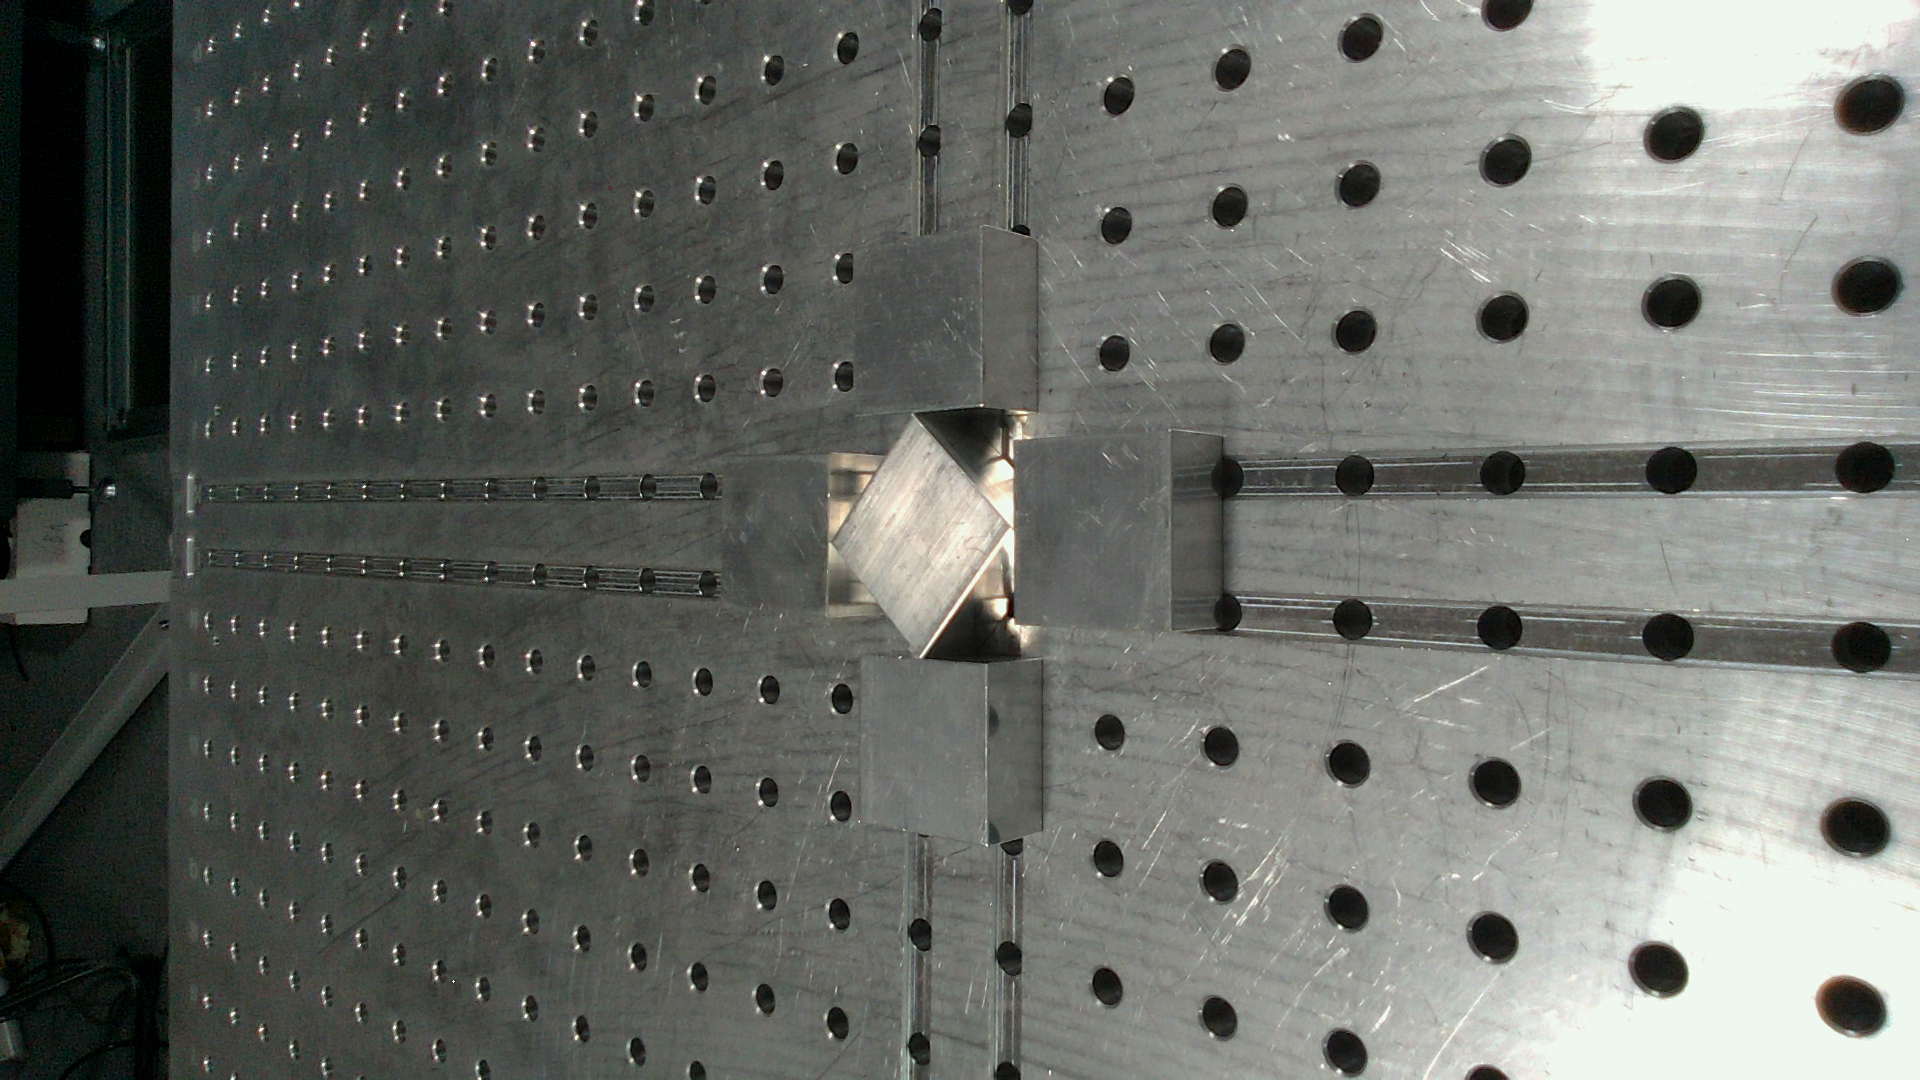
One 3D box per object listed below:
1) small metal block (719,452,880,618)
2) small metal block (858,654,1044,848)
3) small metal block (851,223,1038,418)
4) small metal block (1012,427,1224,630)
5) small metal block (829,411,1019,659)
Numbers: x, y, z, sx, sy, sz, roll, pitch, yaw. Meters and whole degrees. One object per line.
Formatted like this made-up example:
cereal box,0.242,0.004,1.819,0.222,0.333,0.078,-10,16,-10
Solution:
small metal block,-0.051,-0.002,0.440,0.050,0.025,0.050,2,91,40
small metal block,-0.003,0.059,0.401,0.050,0.025,0.050,0,90,40
small metal block,-0.005,-0.062,0.402,0.050,0.025,0.050,-1,89,40
small metal block,0.041,-0.003,0.363,0.050,0.025,0.050,-1,90,40
small metal block,-0.004,-0.002,0.401,0.050,0.025,0.050,50,119,29
